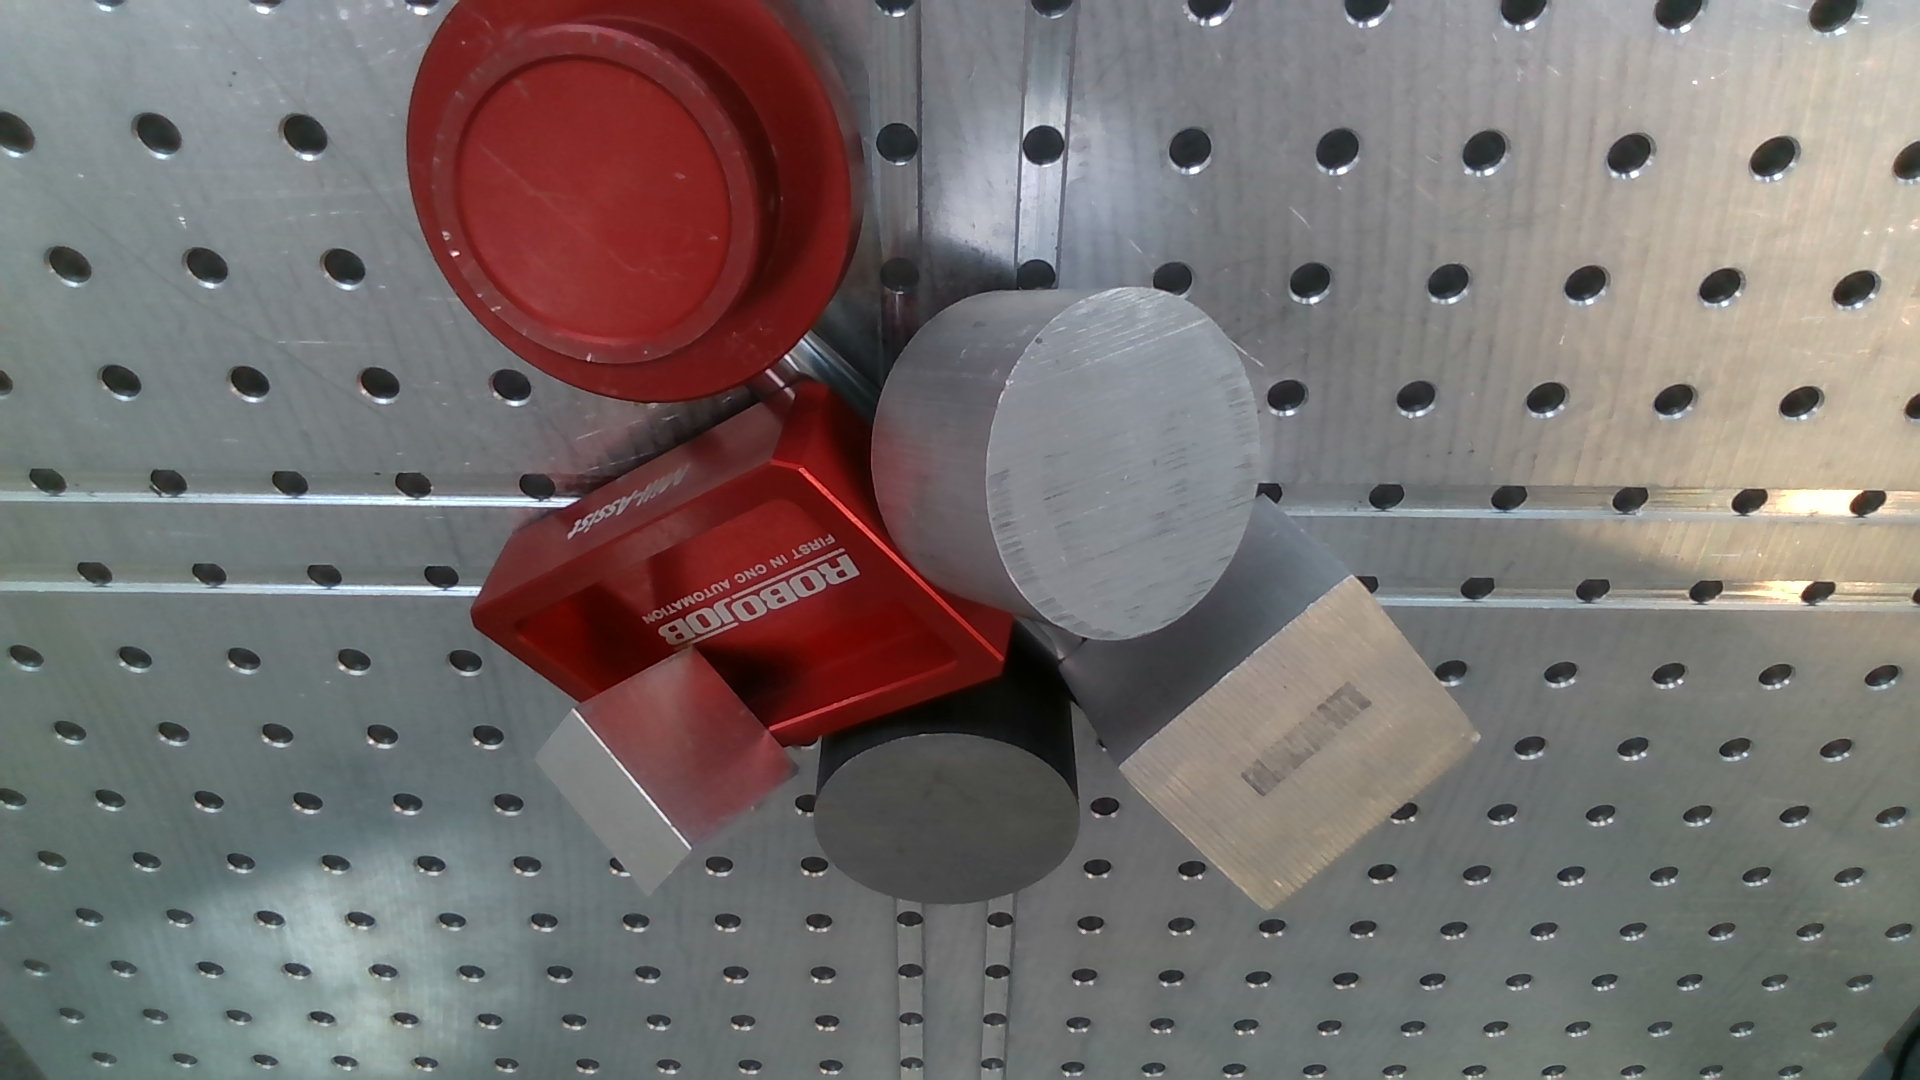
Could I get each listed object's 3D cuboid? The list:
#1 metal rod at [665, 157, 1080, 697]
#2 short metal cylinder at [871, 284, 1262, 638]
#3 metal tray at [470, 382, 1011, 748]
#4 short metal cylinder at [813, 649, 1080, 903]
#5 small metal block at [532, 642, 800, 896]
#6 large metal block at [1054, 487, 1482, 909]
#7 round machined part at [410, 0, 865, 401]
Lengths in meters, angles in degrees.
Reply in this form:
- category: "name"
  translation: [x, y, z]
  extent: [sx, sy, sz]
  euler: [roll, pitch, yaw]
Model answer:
- category: "metal rod"
  translation: [0.007, 0.004, 0.397]
  extent: [0.025, 0.025, 0.301]
  euler: [-31, 123, 23]
- category: "short metal cylinder"
  translation: [0.026, -0.021, 0.331]
  extent: [0.080, 0.050, 0.080]
  euler: [-6, 101, -32]
- category: "metal tray"
  translation: [-0.061, 0.018, 0.385]
  extent: [0.130, 0.030, 0.090]
  euler: [-22, 127, 33]
- category: "short metal cylinder"
  translation: [-0.004, 0.070, 0.434]
  extent: [0.080, 0.050, 0.080]
  euler: [0, 130, 0]
- category: "small metal block"
  translation: [-0.083, 0.063, 0.391]
  extent: [0.050, 0.050, 0.025]
  euler: [48, 124, 8]
- category: "large metal block"
  translation: [0.089, 0.046, 0.400]
  extent: [0.080, 0.050, 0.080]
  euler: [-41, 121, 6]
- category: "round machined part"
  translation: [-0.072, -0.077, 0.299]
  extent: [0.098, 0.042, 0.098]
  euler: [2, 115, 5]
